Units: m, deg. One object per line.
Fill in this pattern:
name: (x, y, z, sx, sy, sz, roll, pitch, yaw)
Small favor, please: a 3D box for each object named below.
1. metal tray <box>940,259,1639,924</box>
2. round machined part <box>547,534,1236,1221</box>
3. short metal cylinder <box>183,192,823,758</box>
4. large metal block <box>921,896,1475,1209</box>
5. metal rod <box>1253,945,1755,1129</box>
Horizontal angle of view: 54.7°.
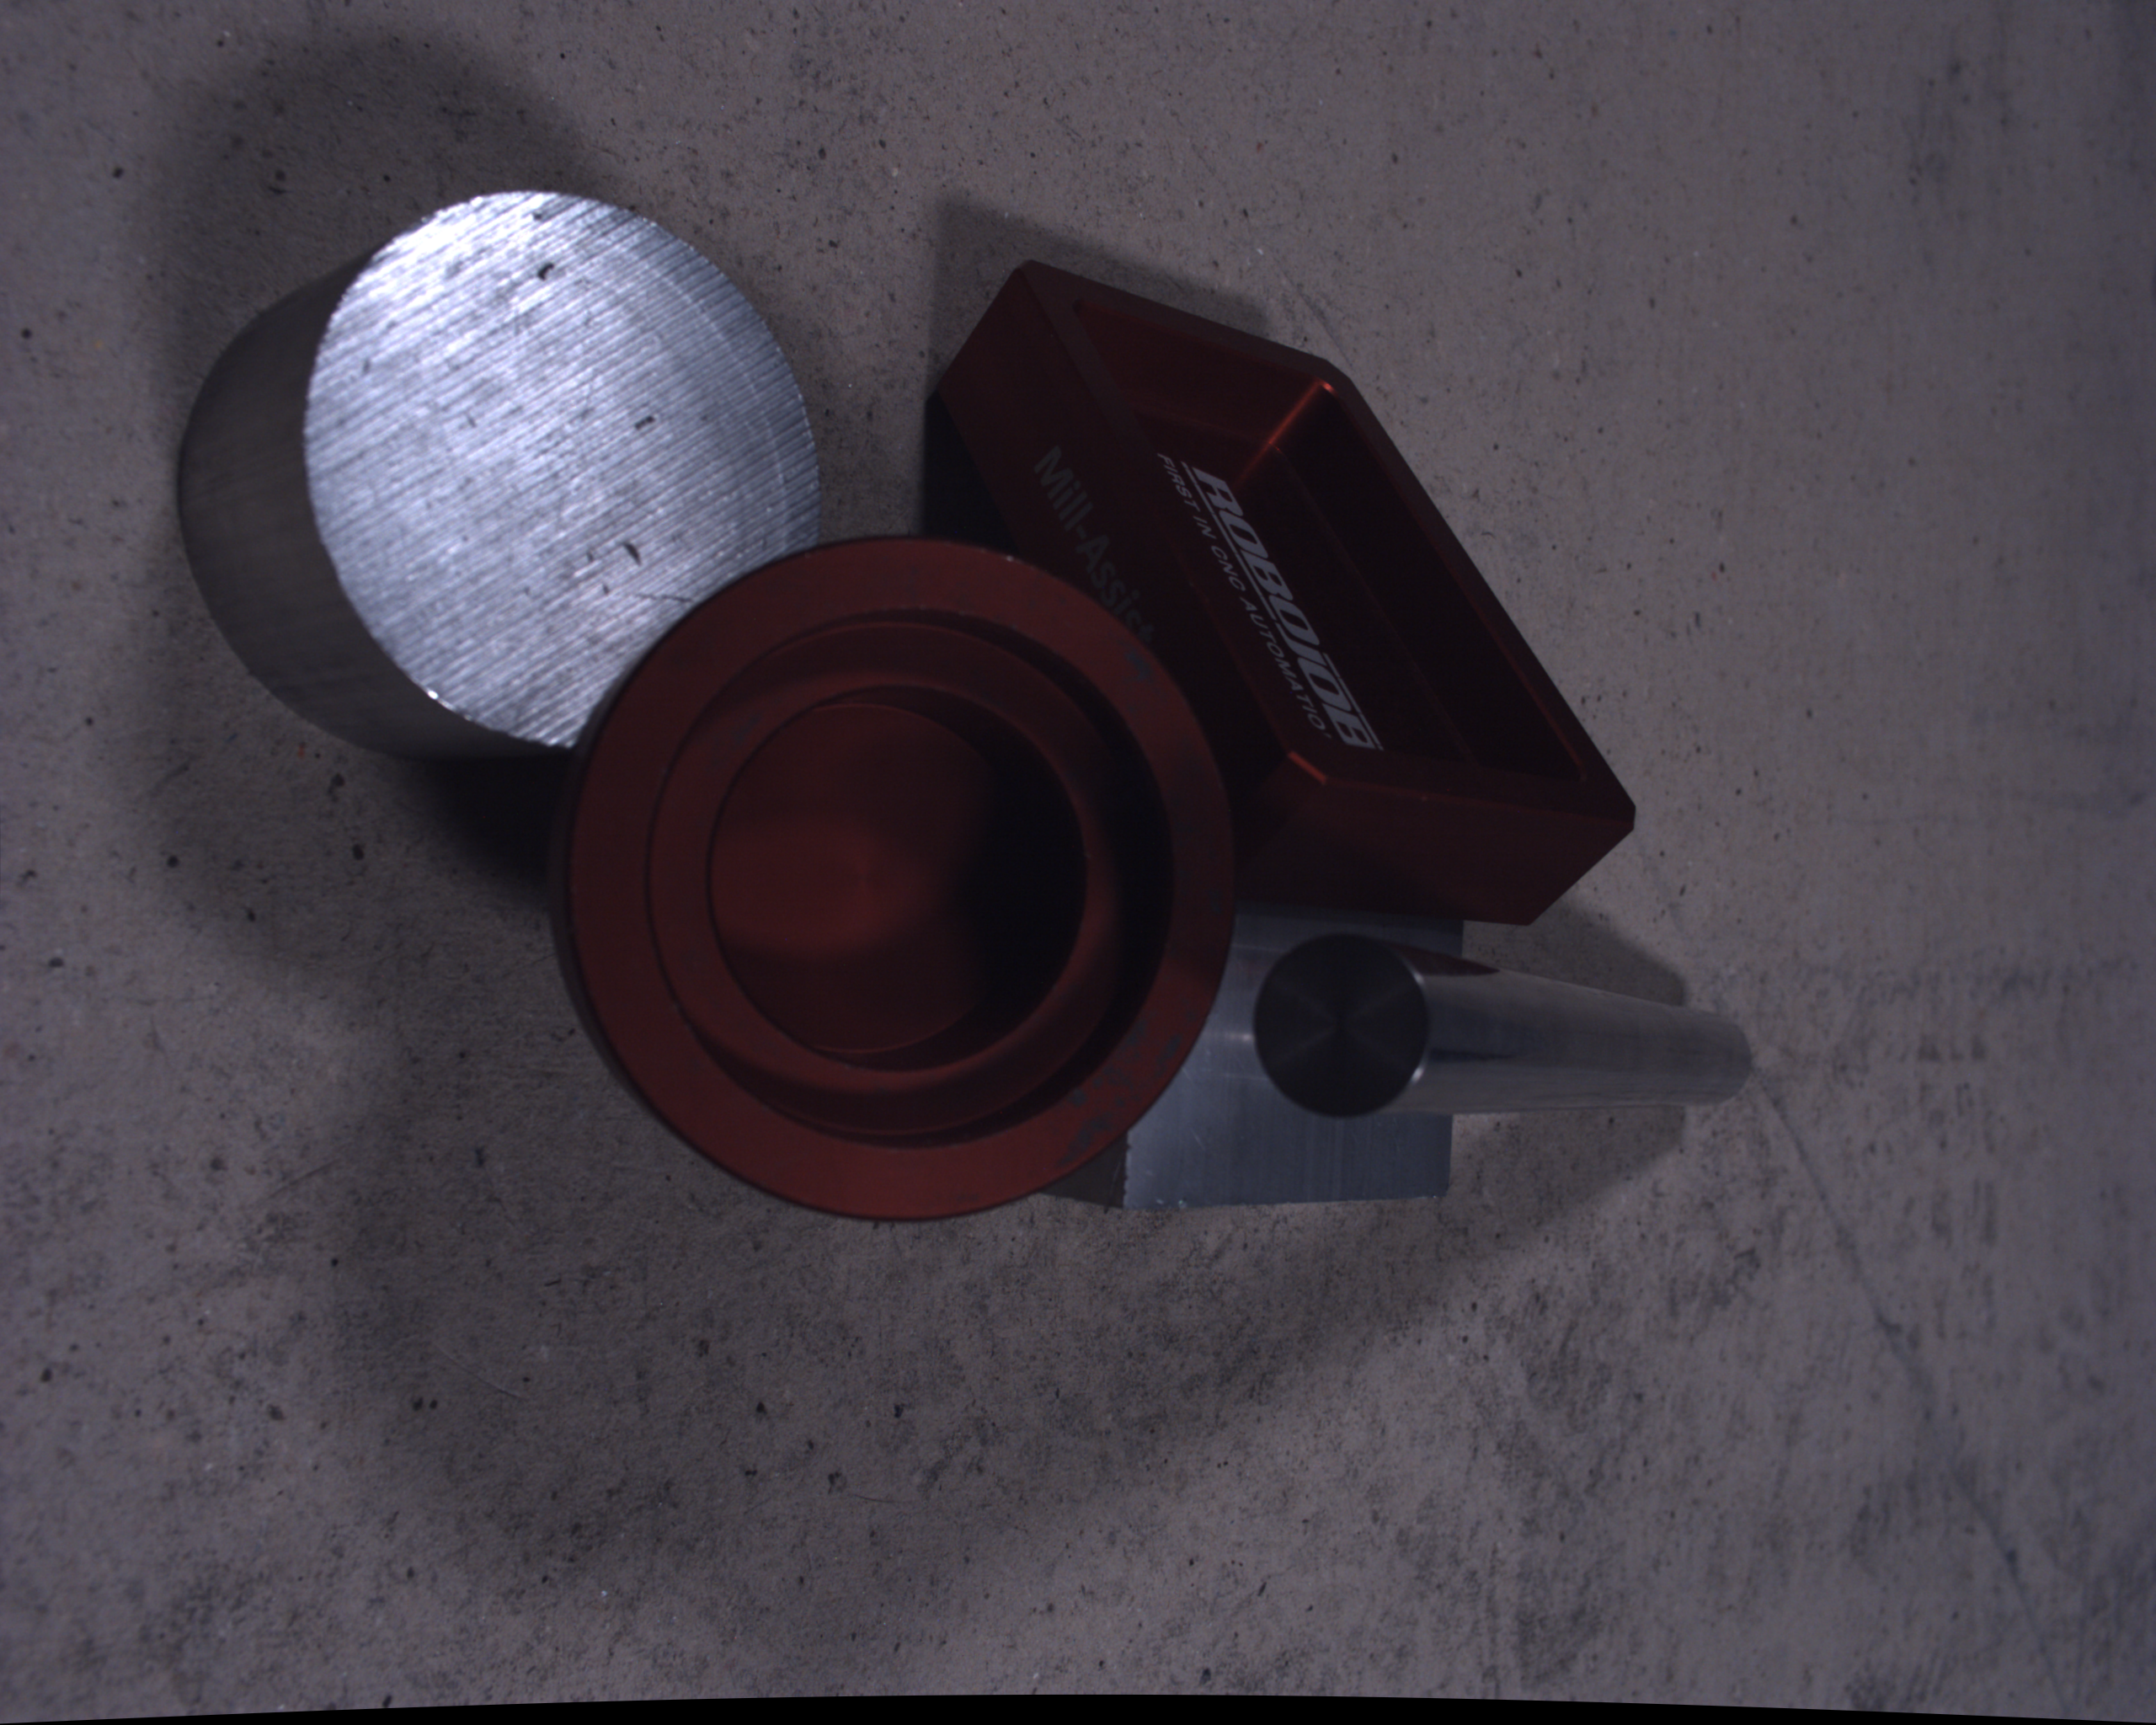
metal tray: (0.038, -0.050, 0.387, 0.091, 0.030, 0.130, 6, 47, -40)
round machined part: (-0.030, 0.002, 0.314, 0.099, 0.042, 0.097, 0, 89, -20)
short metal cylinder: (-0.087, -0.056, 0.318, 0.081, 0.050, 0.079, 0, 90, -40)
large metal block: (0.014, 0.032, 0.384, 0.081, 0.080, 0.050, 6, 87, -40)
metal rod: (0.101, 0.037, 0.416, 0.301, 0.025, 0.025, 12, 82, -64)
